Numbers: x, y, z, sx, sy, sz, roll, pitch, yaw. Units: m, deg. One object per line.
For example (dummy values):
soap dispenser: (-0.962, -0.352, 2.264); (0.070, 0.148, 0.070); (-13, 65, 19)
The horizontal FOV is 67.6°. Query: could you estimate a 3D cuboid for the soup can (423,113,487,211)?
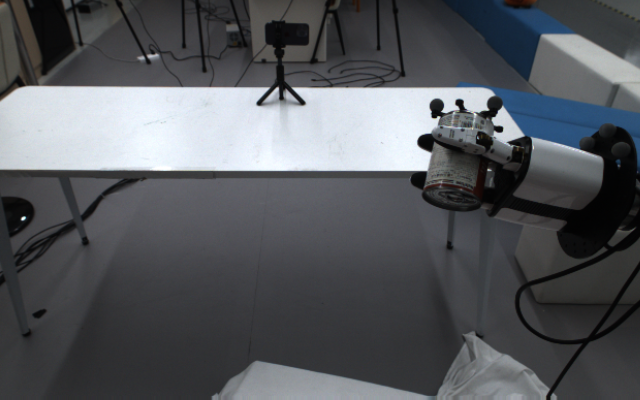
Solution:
soup can: (0.166, -0.046, 0.573); (0.067, 0.067, 0.101); (11, 72, 13)
